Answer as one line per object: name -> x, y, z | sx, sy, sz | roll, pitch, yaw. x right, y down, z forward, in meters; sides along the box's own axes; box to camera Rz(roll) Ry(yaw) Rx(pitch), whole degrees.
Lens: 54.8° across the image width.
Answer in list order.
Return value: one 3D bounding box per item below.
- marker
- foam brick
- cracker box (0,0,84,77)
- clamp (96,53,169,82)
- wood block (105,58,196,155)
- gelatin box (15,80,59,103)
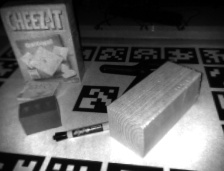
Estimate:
marker -> -0.079, 0.096, 0.461 | 0.121, 0.020, 0.019 | -12, 43, -7
foam brick -> -0.165, 0.062, 0.486 | 0.078, 0.052, 0.052 | -15, 44, -10
cracker box -> -0.173, -0.122, 0.567 | 0.164, 0.215, 0.072 | 0, 40, 4
clamp -> 0.073, -0.049, 0.598 | 0.204, 0.037, 0.163 | -19, 43, -15
wood block -> 0.087, 0.033, 0.467 | 0.088, 0.091, 0.208 | 27, 48, 35
gelatin box -> -0.192, 0.018, 0.560 | 0.089, 0.030, 0.073 | 1, 43, 8
